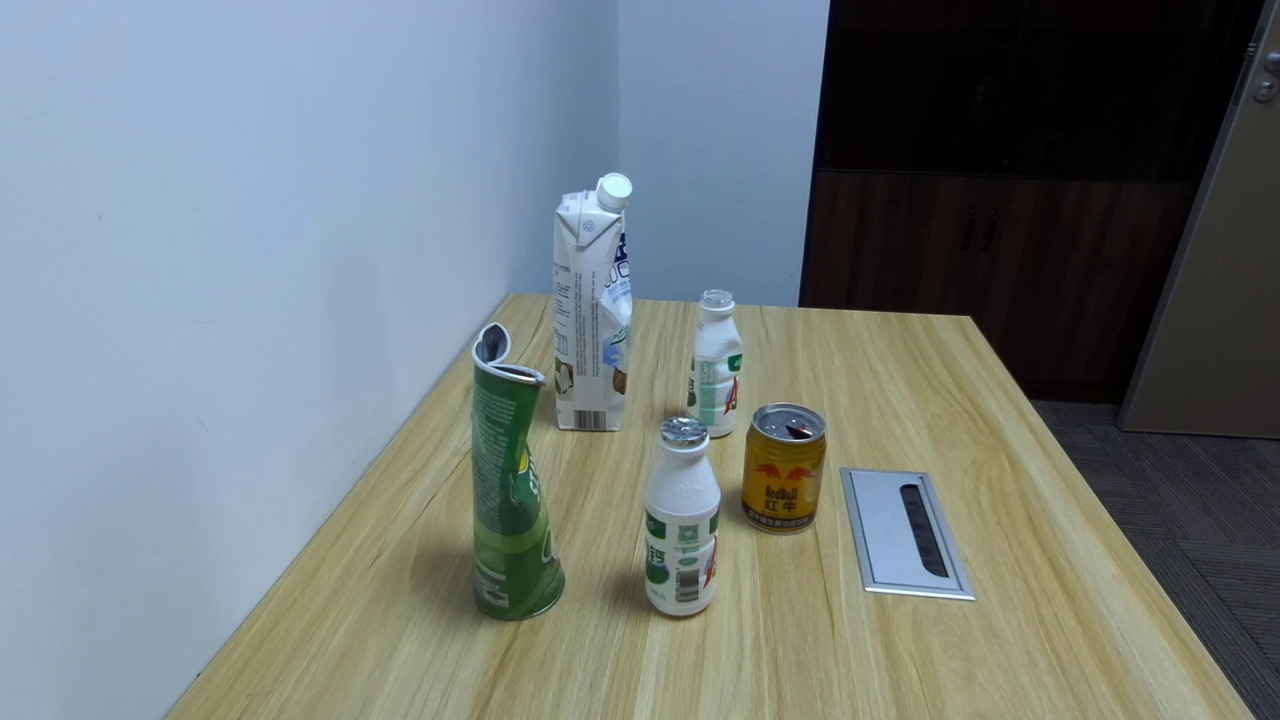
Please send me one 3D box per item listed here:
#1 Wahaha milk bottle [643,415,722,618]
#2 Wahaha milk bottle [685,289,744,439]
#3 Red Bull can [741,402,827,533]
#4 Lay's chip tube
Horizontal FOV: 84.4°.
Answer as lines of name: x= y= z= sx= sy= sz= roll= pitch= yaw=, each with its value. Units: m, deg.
Wahaha milk bottle: x=0.030 y=0.110 z=0.494 sx=0.053 sy=0.147 sz=0.053 roll=0 pitch=28 yaw=0
Wahaha milk bottle: x=0.075 y=0.005 z=0.699 sx=0.055 sy=0.149 sz=0.055 roll=1 pitch=28 yaw=0
Red Bull can: x=0.121 y=0.091 z=0.595 sx=0.067 sy=0.093 sz=0.067 roll=1 pitch=26 yaw=0
Lay's chip tube: x=-0.091 y=0.083 z=0.492 sx=0.077 sy=0.201 sz=0.069 roll=20 pitch=33 yaw=30
